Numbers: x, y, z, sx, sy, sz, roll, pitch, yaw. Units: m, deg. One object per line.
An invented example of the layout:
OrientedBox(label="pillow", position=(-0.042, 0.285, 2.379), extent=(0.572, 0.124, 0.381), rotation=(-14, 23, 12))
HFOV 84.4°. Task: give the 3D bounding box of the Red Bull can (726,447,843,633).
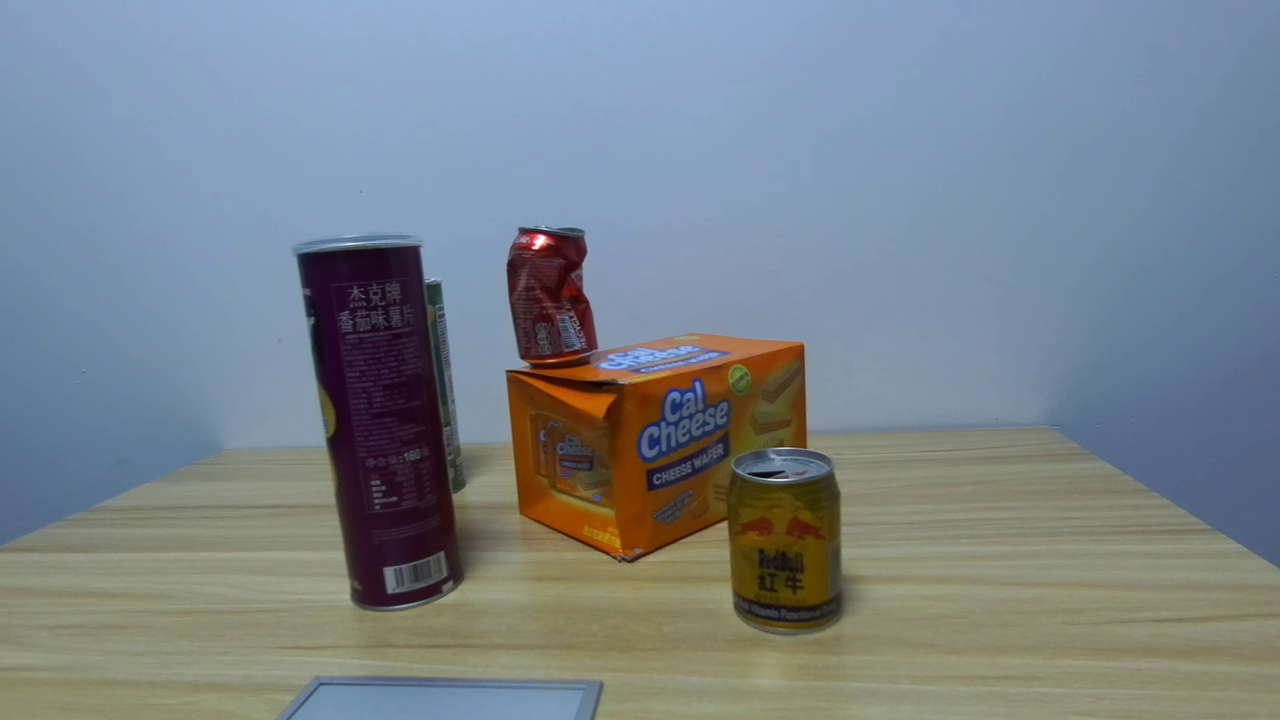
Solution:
OrientedBox(label="Red Bull can", position=(0.085, 0.104, 0.417), extent=(0.069, 0.092, 0.069), rotation=(-3, 10, 1))

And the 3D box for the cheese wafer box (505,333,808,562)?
OrientedBox(label="cheese wafer box", position=(0.020, 0.055, 0.604), extent=(0.228, 0.137, 0.149), rotation=(-12, 13, -40))

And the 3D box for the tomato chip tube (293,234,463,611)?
OrientedBox(label="tomato chip tube", position=(-0.170, 0.042, 0.470), extent=(0.078, 0.233, 0.078), rotation=(-4, 10, 1))

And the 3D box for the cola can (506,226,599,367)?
OrientedBox(label="cola can", position=(-0.072, -0.053, 0.578), extent=(0.069, 0.112, 0.065), rotation=(-8, 11, -21))
